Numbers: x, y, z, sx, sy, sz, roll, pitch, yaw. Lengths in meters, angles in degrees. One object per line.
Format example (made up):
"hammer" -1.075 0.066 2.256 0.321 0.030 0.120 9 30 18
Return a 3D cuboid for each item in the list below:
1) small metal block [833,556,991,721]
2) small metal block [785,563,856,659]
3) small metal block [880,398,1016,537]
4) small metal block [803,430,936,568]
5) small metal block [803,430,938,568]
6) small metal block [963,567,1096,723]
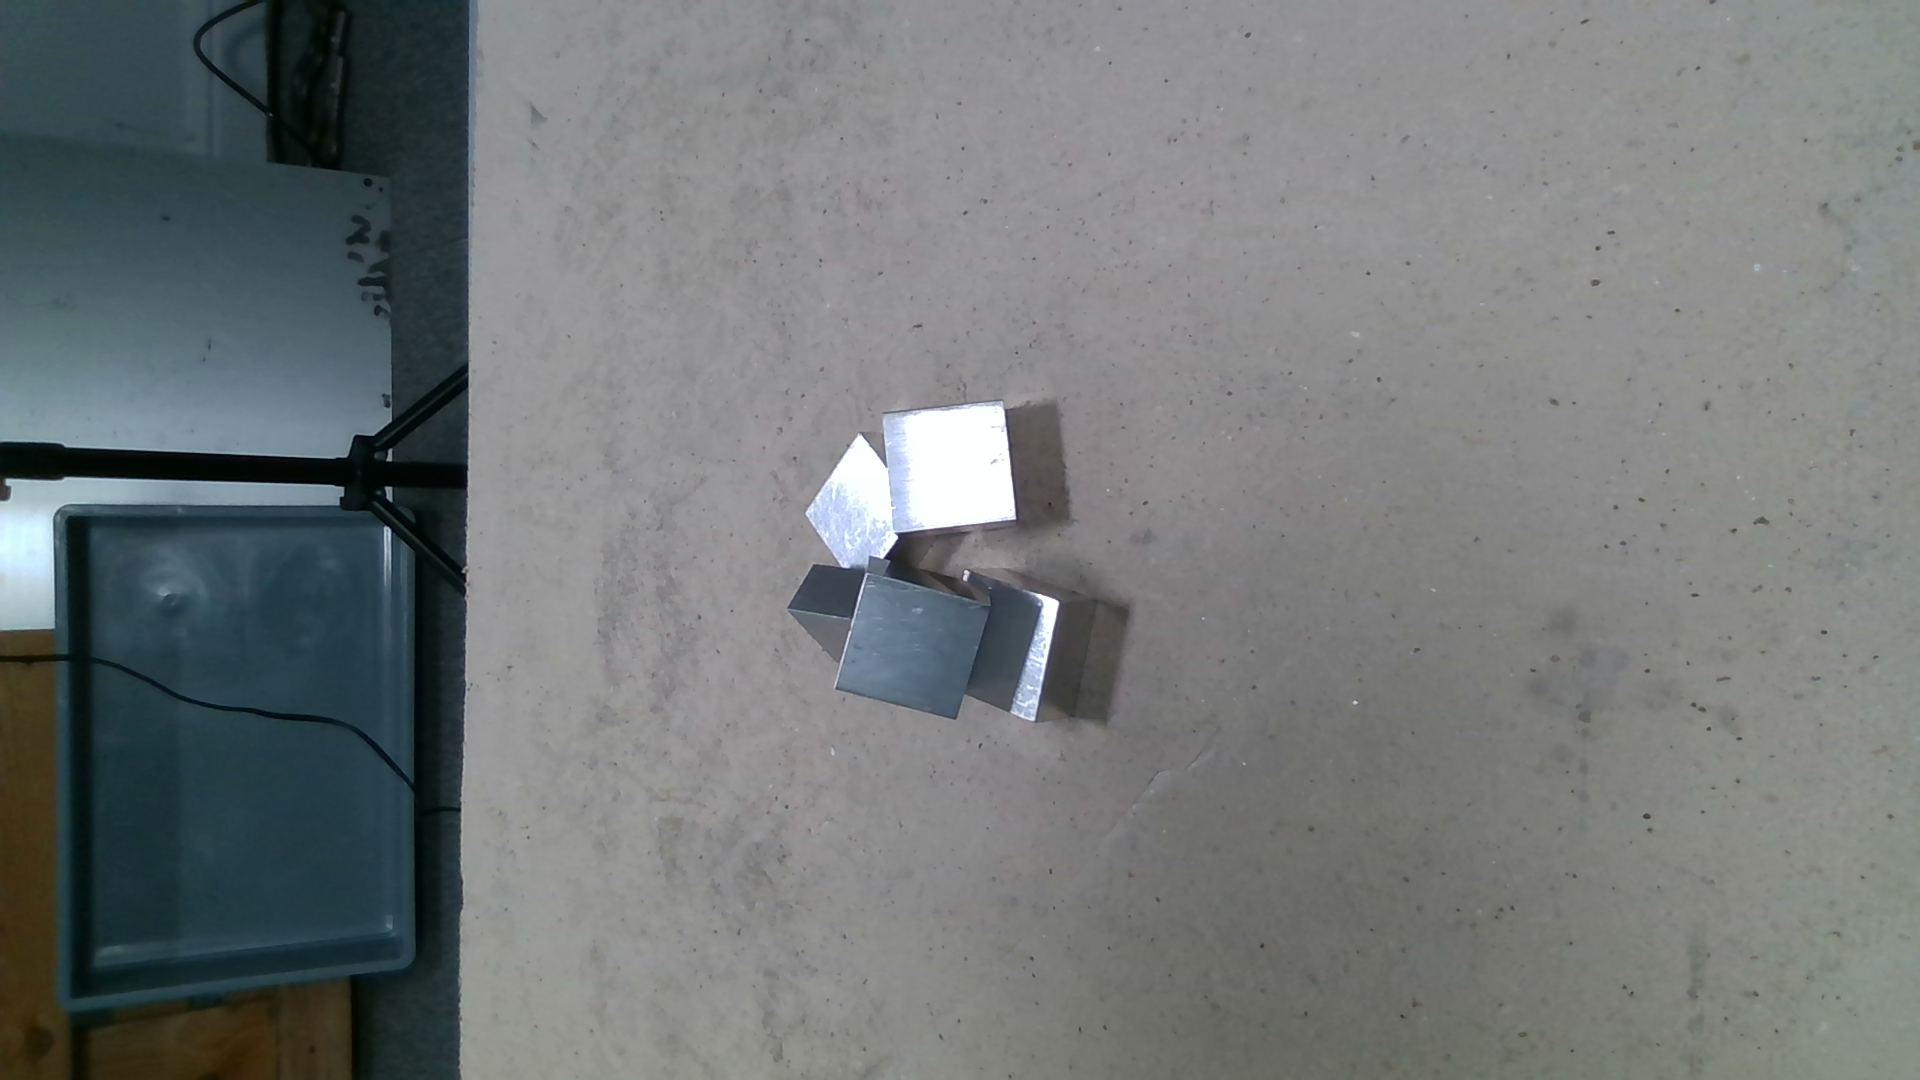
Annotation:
"small metal block" -0.019 0.039 0.548 0.050 0.025 0.050 15 104 -5
"small metal block" -0.039 0.037 0.596 0.050 0.050 0.025 6 56 39
"small metal block" -0.004 -0.029 0.569 0.050 0.025 0.050 -7 86 2
"small metal block" -0.036 -0.013 0.613 0.050 0.025 0.050 53 121 27
"small metal block" -0.036 -0.013 0.613 0.050 0.025 0.050 53 121 27
"small metal block" 0.024 0.042 0.563 0.050 0.025 0.050 18 102 39
